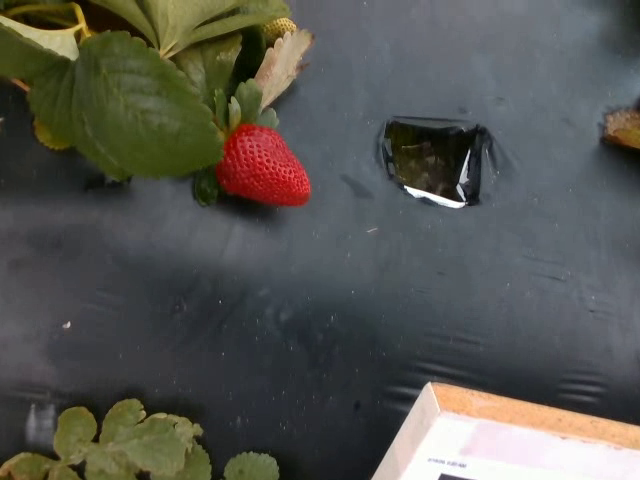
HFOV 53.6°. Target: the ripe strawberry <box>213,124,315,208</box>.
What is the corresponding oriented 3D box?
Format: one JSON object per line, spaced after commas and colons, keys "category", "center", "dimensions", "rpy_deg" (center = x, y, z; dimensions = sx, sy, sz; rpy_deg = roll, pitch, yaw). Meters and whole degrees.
{"category": "ripe strawberry", "center": [-0.031, -0.036, 0.346], "dimensions": [0.064, 0.046, 0.048], "rpy_deg": [37, 31, 12]}
